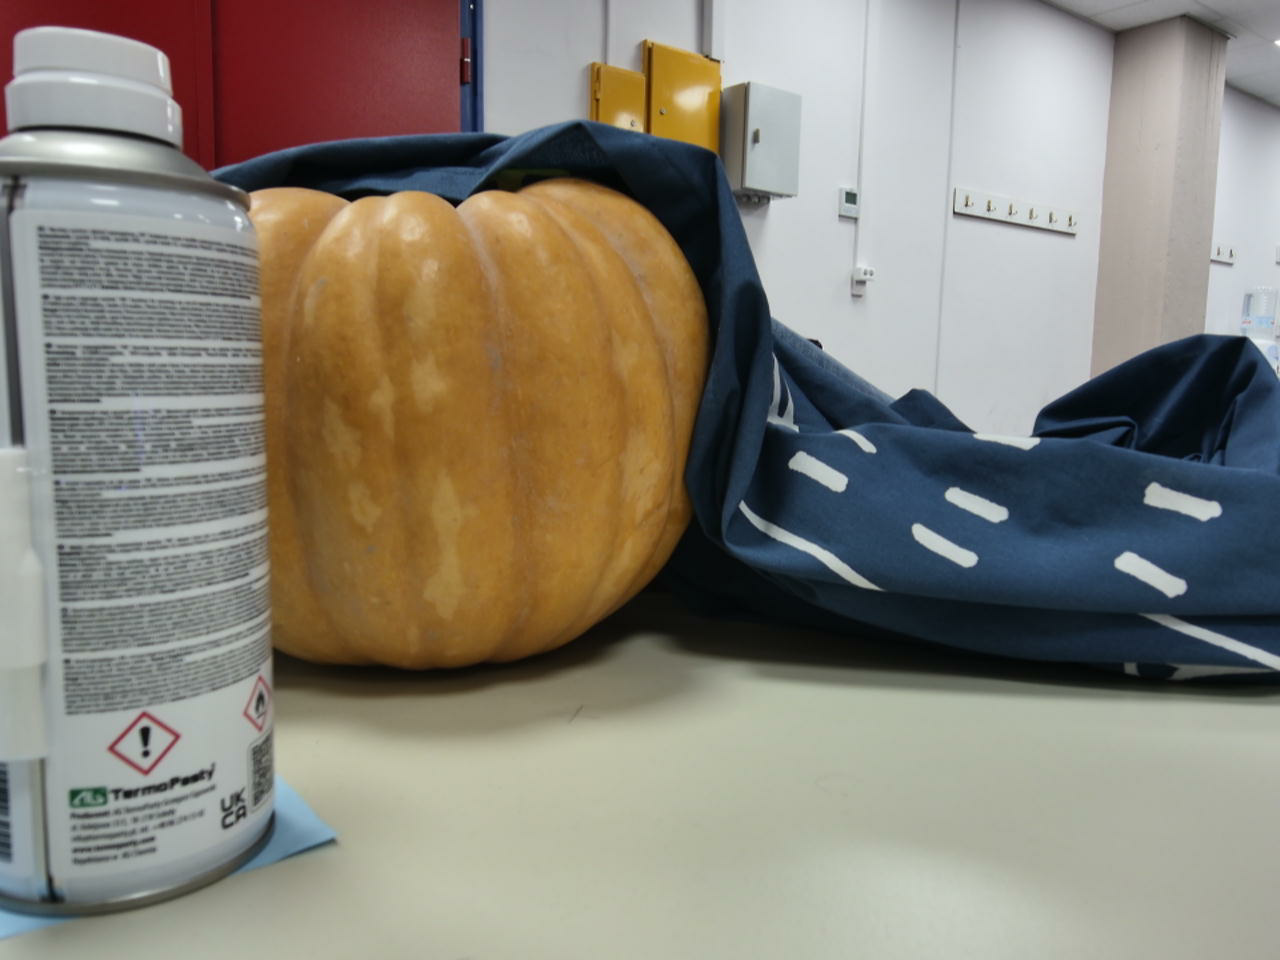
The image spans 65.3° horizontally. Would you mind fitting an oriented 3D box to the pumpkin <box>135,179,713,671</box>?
[{"bbox_3d":[-0.079,-0.025,0.411,0.230,0.194,0.230,0,4,0],"label":"pumpkin"}]
